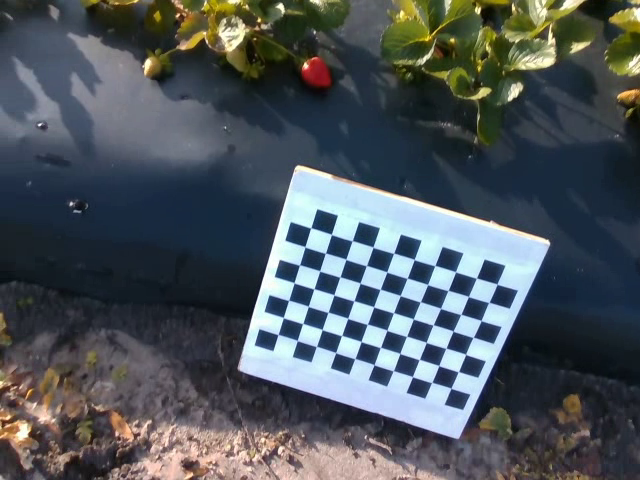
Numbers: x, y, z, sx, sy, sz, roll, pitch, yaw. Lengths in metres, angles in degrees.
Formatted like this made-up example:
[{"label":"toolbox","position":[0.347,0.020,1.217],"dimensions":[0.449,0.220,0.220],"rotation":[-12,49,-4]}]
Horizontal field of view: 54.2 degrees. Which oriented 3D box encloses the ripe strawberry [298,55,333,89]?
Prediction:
[{"label":"ripe strawberry","position":[0.004,-0.183,0.668],"dimensions":[0.030,0.045,0.033],"rotation":[-42,-24,18]}]
